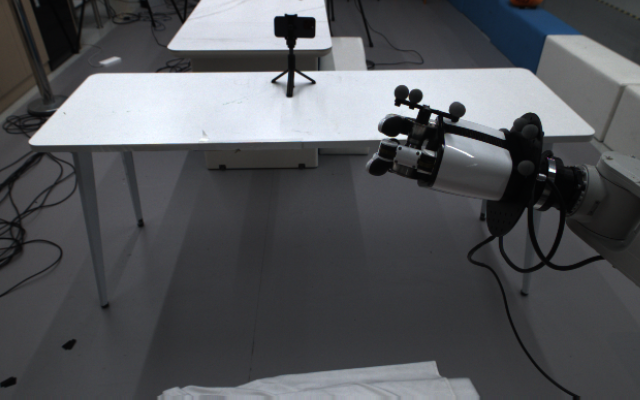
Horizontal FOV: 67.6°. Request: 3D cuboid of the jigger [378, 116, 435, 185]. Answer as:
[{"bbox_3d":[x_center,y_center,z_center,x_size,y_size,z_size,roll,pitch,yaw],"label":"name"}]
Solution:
[{"bbox_3d":[0.119,-0.065,0.614,0.043,0.071,0.043,15,17,-5],"label":"jigger"}]
